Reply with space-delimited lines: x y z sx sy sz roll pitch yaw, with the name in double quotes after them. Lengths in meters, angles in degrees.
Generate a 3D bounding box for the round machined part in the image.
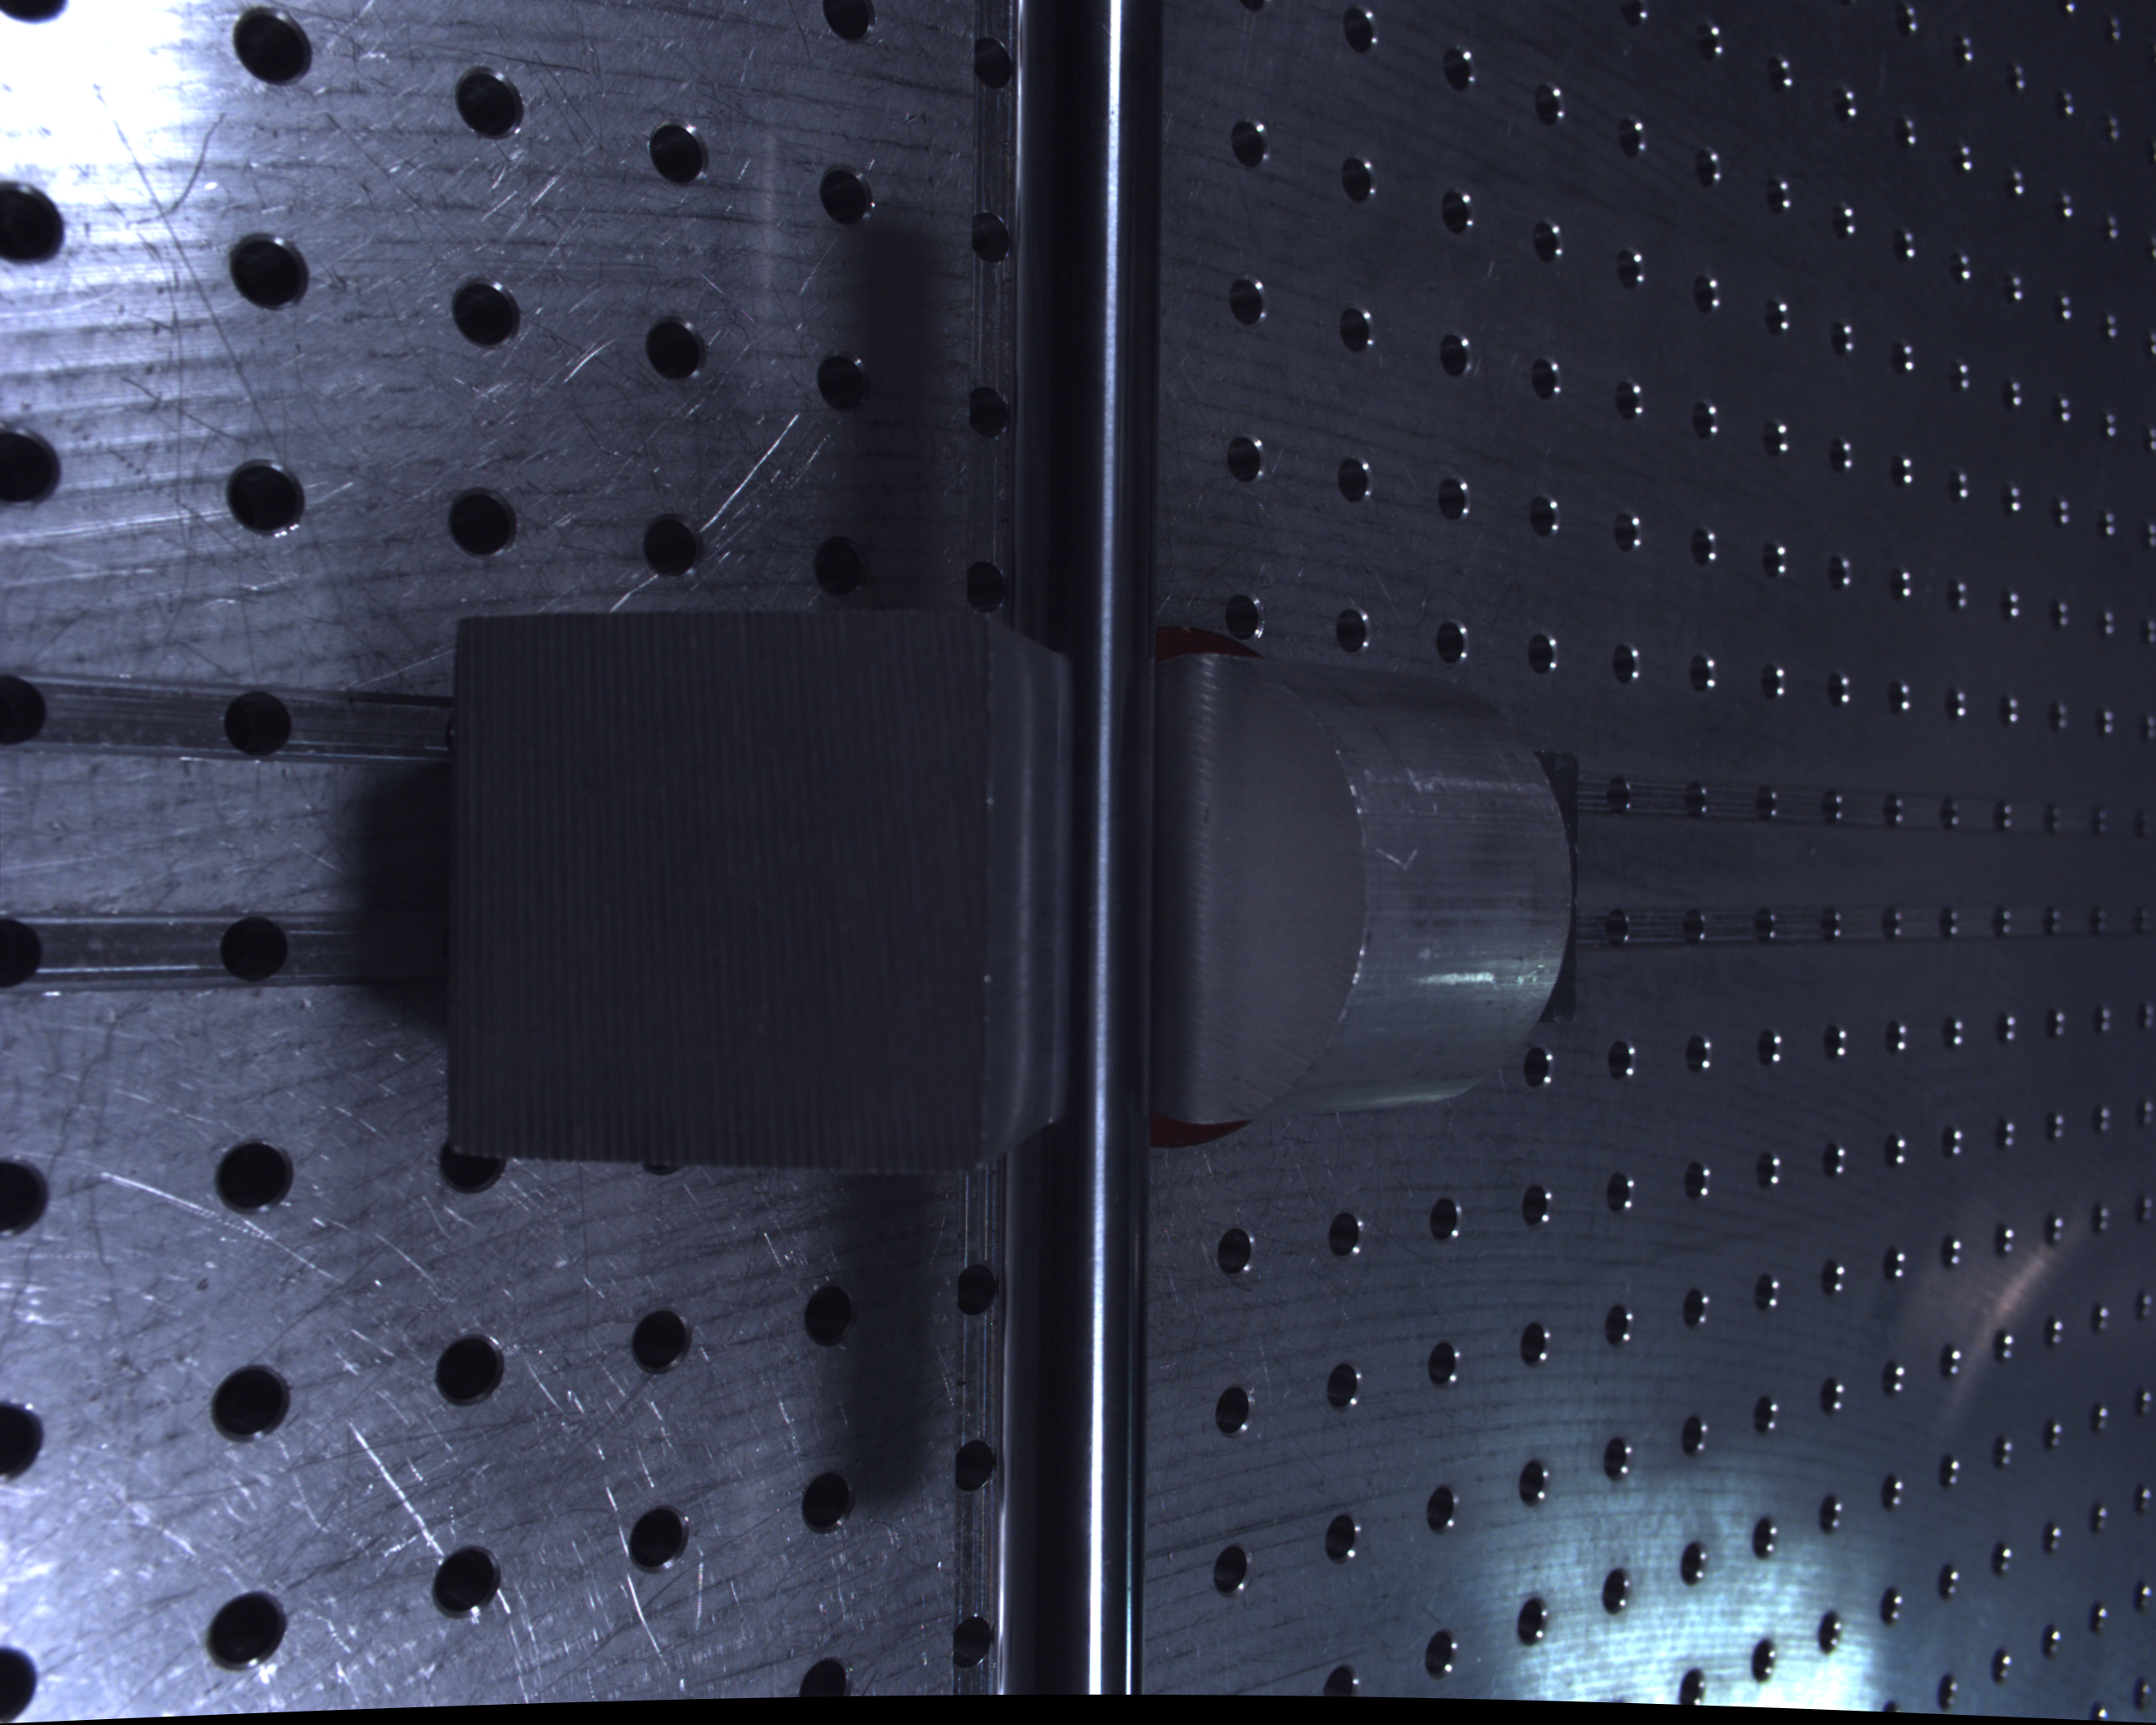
0.008 0.004 0.405 0.099 0.042 0.097 0 90 -40 "round machined part"

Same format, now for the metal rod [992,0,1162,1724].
0.000 -0.003 0.357 0.025 0.025 0.298 1 89 -40 "metal rod"

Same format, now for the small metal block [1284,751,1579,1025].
0.066 0.004 0.396 0.025 0.050 0.050 2 89 -40 "small metal block"

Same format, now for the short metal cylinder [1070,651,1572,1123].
0.039 0.004 0.369 0.050 0.080 0.079 1 90 -40 "short metal cylinder"

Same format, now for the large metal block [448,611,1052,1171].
-0.049 0.004 0.327 0.050 0.080 0.079 4 87 -81 "large metal block"
